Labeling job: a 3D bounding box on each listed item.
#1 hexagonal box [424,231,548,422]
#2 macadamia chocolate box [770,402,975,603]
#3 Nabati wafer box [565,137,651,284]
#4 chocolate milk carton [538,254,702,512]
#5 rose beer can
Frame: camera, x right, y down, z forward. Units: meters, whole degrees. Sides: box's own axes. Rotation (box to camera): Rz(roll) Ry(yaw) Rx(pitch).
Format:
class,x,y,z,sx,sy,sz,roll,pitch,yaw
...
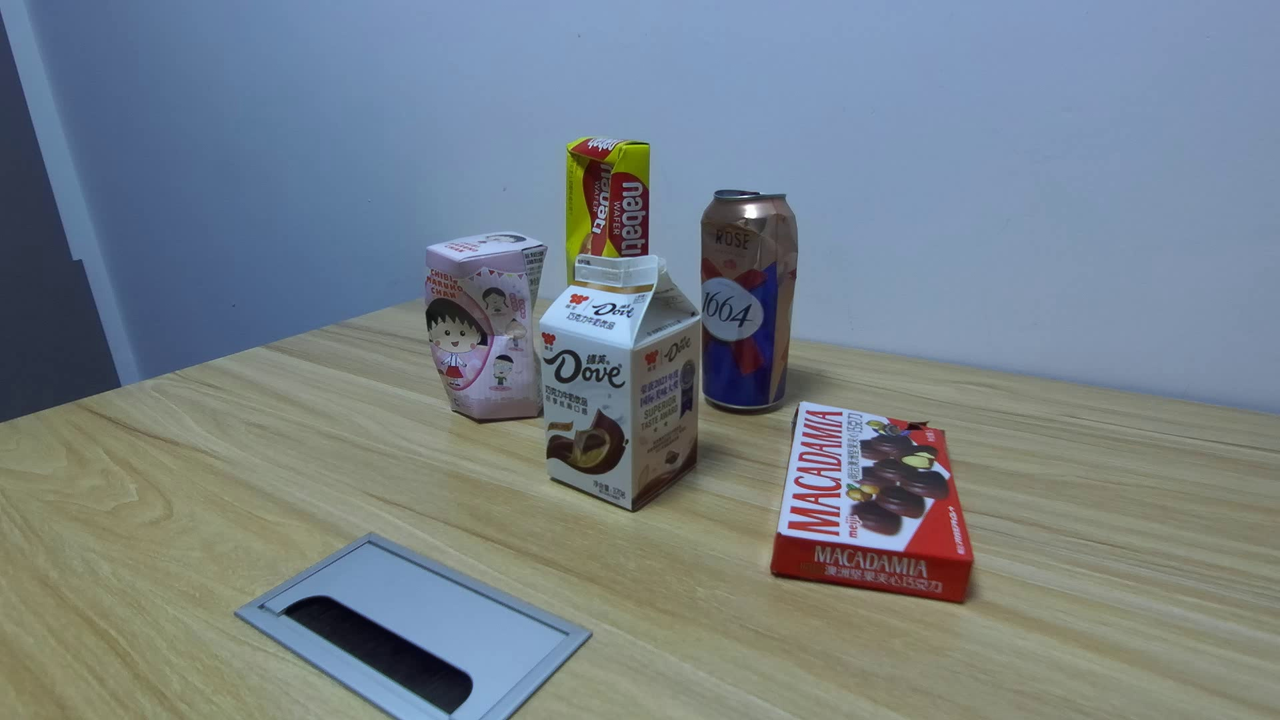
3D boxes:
class,x,y,z,sx,sy,sz,roll,pitch,yaw
hexagonal box,-0.117,-0.028,0.565,0.088,0.134,0.093,2,21,10
macadamia chocolate box,0.139,0.072,0.429,0.102,0.027,0.187,6,22,14
Nabati wafer box,-0.030,-0.088,0.624,0.042,0.203,0.096,-9,22,-24
chocolate milk carton,-0.011,0.005,0.441,0.075,0.148,0.074,15,27,34
rose beer can,0.084,-0.046,0.546,0.065,0.167,0.075,-8,20,-22
